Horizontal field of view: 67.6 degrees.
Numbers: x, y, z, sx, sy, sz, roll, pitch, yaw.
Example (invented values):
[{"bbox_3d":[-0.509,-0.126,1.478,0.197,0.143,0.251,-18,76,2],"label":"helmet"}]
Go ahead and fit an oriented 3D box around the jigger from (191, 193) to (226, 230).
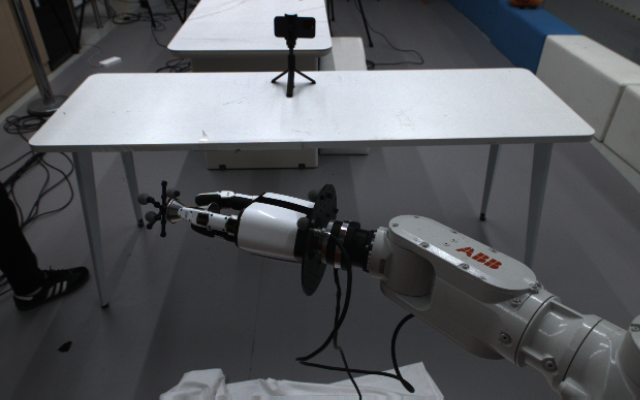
[{"bbox_3d":[-0.185,0.017,0.734,0.071,0.043,0.043,6,35,15],"label":"jigger"}]
